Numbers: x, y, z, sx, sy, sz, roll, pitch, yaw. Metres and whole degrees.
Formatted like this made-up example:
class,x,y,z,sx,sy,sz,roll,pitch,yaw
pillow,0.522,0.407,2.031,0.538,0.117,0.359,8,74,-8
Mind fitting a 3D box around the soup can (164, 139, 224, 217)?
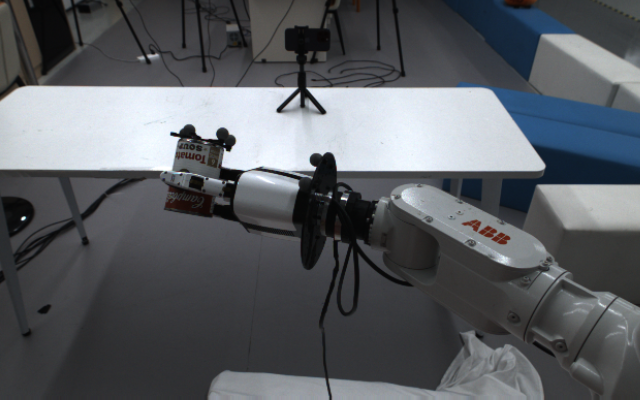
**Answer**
class,x,y,z,sx,sy,sz,roll,pitch,yaw
soup can,-0.178,-0.028,0.689,0.067,0.101,0.067,9,-5,1
